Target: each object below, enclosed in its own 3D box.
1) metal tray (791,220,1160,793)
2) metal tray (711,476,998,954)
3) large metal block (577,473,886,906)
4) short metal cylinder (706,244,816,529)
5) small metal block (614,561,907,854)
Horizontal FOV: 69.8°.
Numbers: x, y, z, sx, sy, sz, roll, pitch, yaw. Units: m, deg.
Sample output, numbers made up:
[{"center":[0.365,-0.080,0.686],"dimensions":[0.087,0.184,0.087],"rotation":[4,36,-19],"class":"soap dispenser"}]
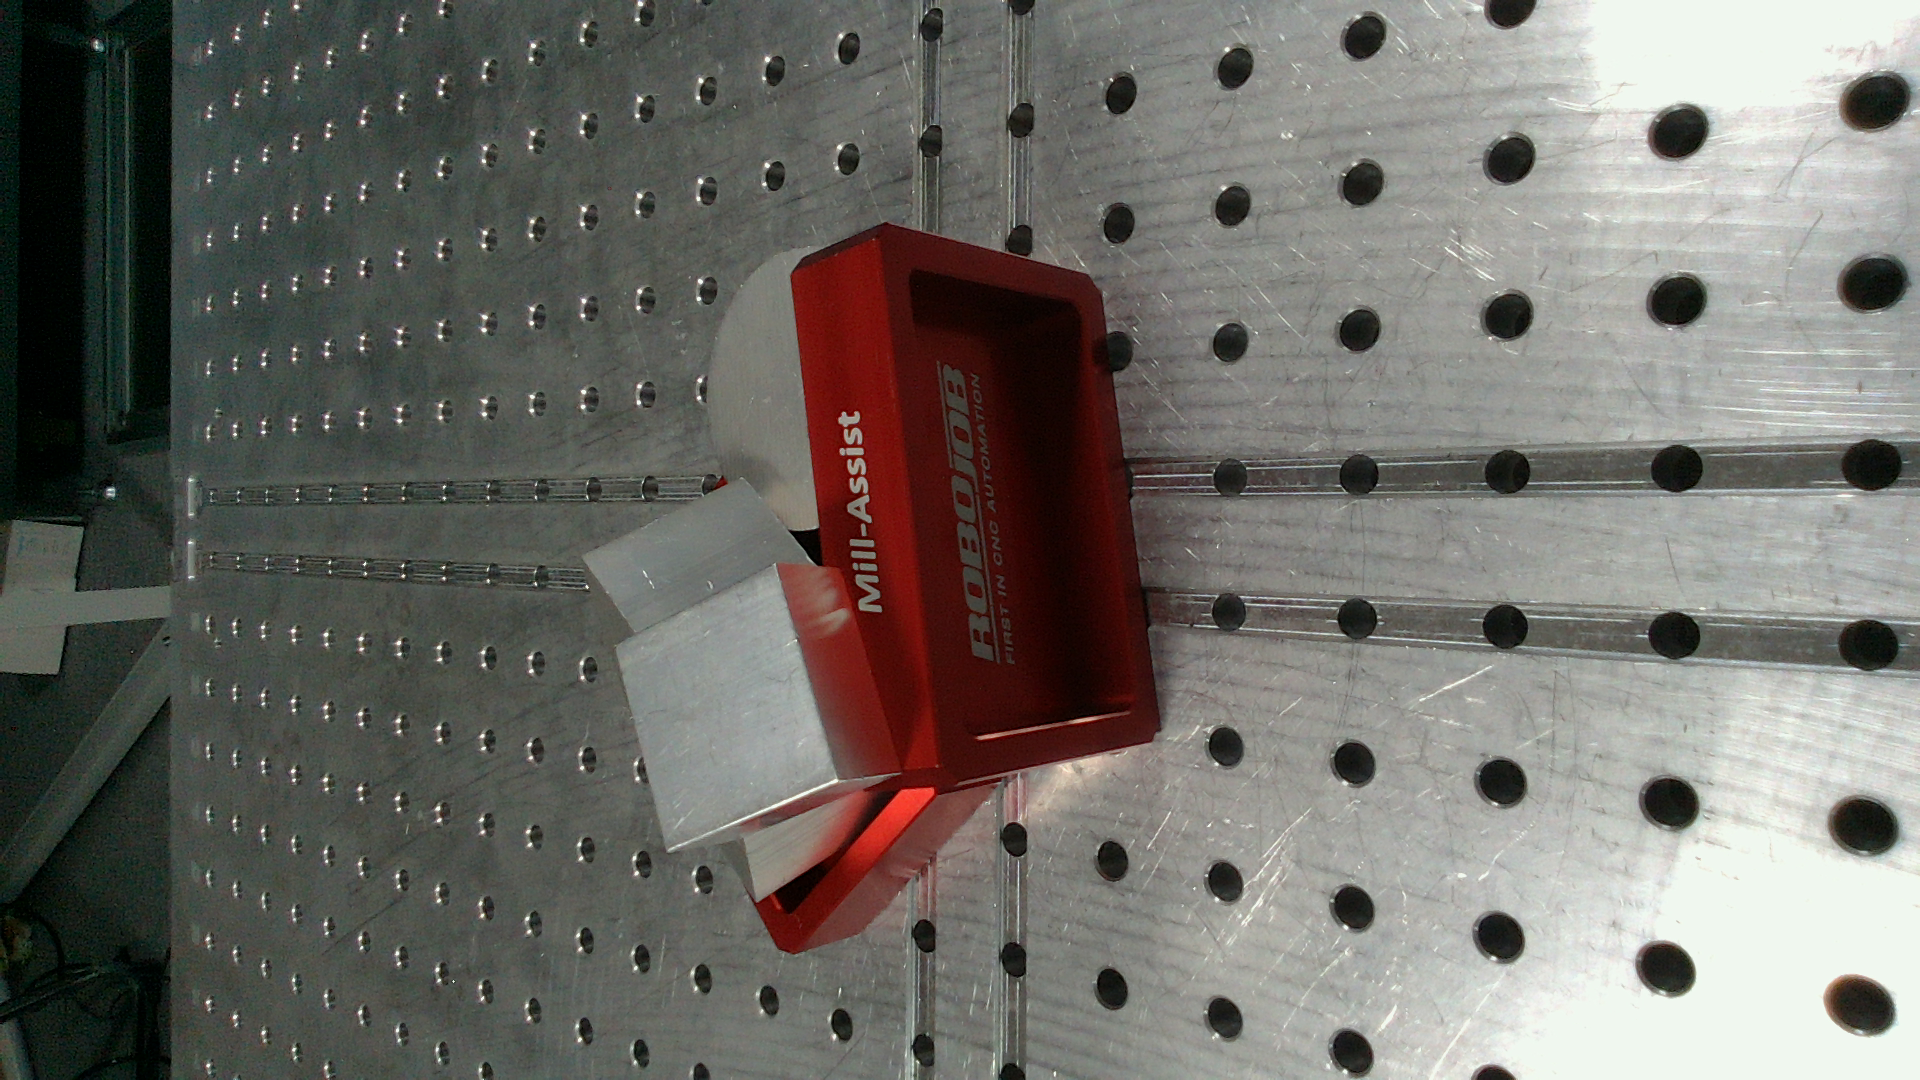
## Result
[{"center":[0.006,-0.007,0.350],"dimensions":[0.030,0.090,0.130],"rotation":[-12,82,40],"class":"metal tray"},{"center":[-0.054,0.051,0.438],"dimensions":[0.090,0.030,0.130],"rotation":[-51,60,28],"class":"metal tray"},{"center":[-0.060,0.043,0.391],"dimensions":[0.080,0.050,0.080],"rotation":[47,154,30],"class":"large metal block"},{"center":[-0.030,-0.043,0.406],"dimensions":[0.080,0.050,0.080],"rotation":[0,90,40],"class":"short metal cylinder"},{"center":[-0.046,0.038,0.313],"dimensions":[0.050,0.025,0.050],"rotation":[-26,74,26],"class":"small metal block"}]
